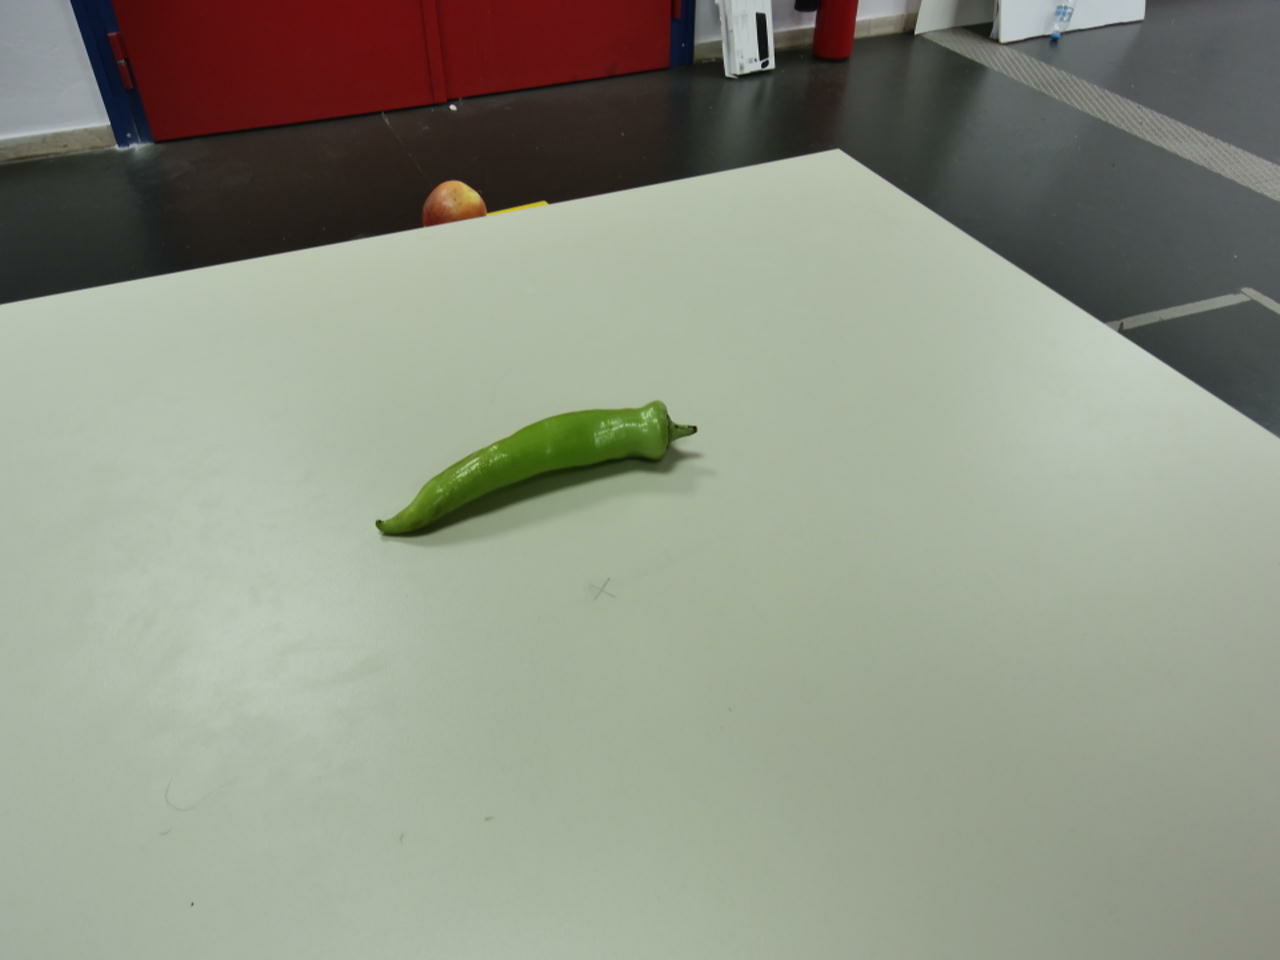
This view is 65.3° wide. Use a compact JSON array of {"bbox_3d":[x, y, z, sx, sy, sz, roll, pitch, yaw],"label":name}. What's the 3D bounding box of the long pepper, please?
[{"bbox_3d":[-0.062,-0.014,0.591,0.197,0.038,0.046,-14,41,-18],"label":"long pepper"}]
